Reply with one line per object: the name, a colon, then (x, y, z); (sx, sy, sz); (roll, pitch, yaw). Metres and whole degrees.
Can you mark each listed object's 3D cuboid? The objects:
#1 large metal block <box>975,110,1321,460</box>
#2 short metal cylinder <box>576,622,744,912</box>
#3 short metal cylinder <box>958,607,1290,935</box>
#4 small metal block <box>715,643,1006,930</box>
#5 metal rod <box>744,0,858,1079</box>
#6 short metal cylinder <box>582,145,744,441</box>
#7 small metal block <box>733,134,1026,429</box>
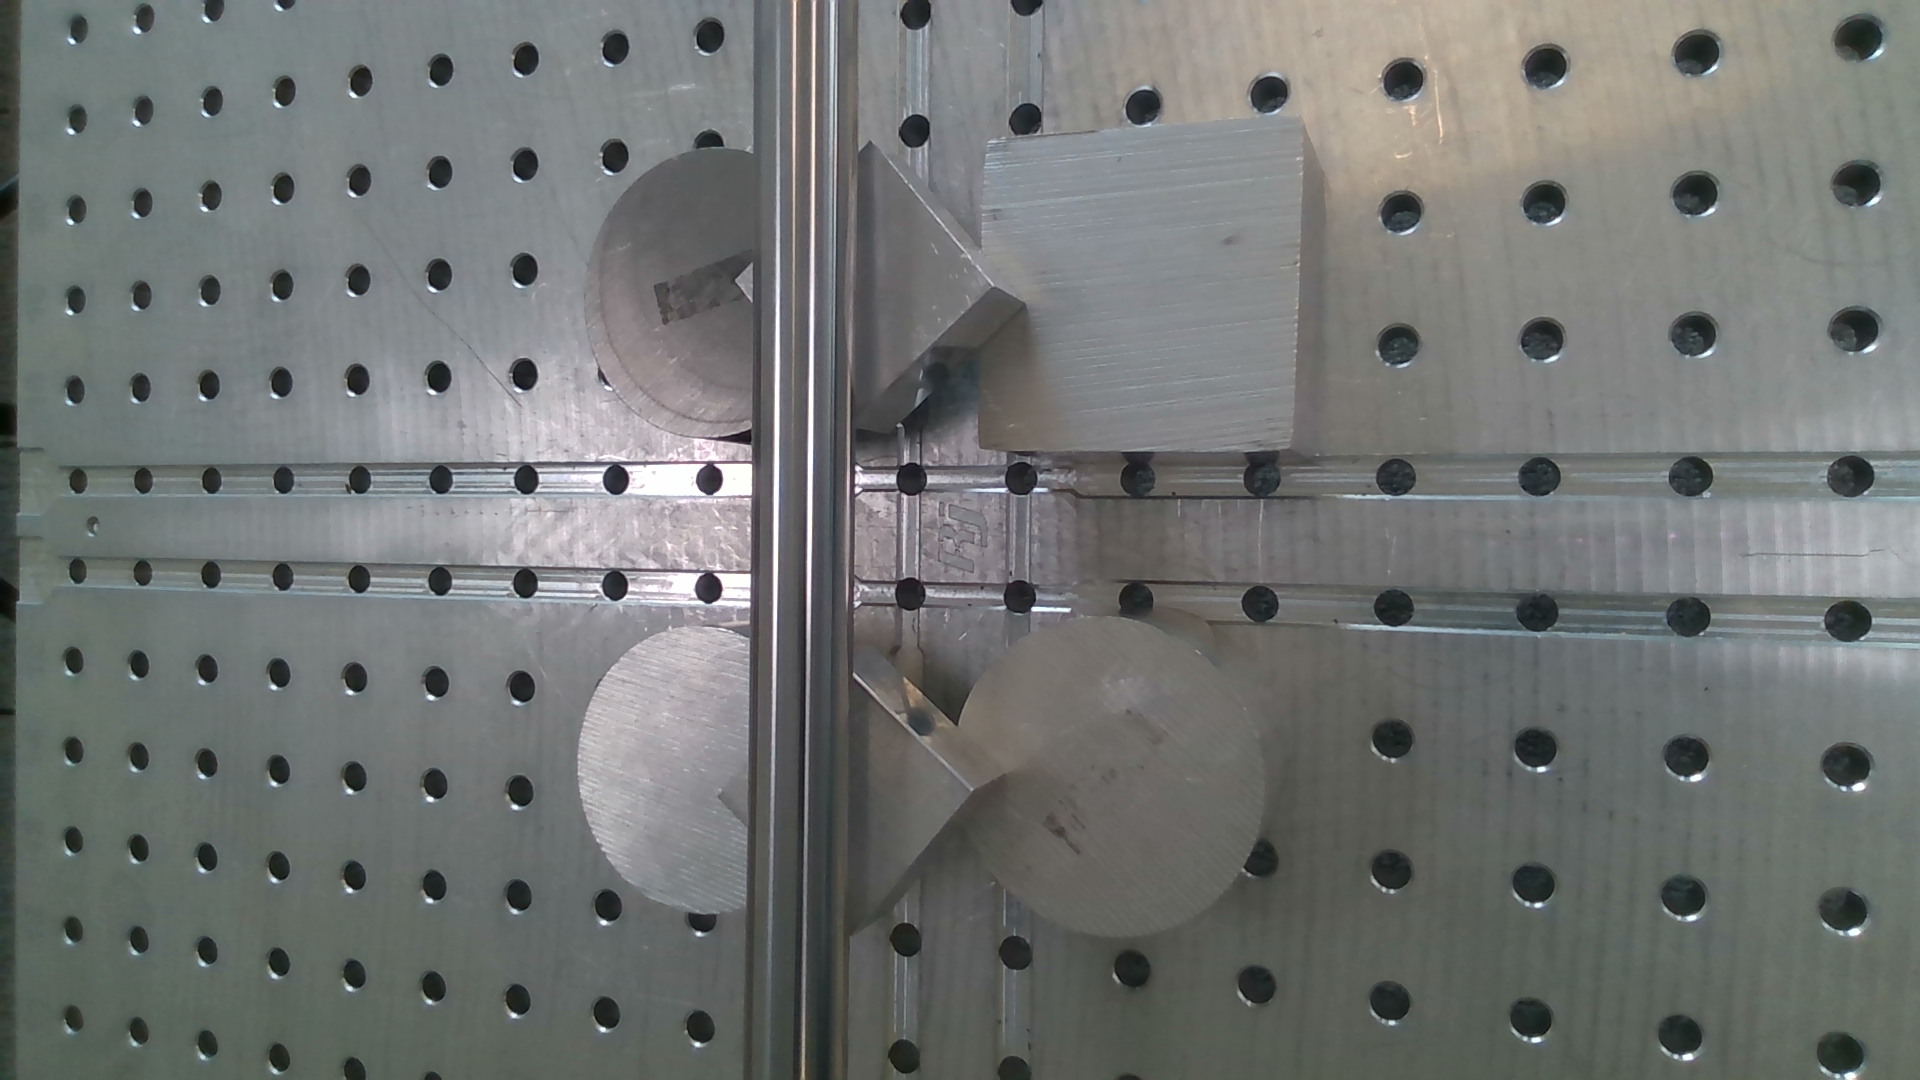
large metal block: (0.051, -0.062, 0.363); (0.080, 0.050, 0.080); (1, 91, 20)
short metal cylinder: (-0.065, 0.064, 0.408); (0.080, 0.050, 0.080); (0, 90, 20)
short metal cylinder: (0.044, 0.059, 0.367); (0.080, 0.050, 0.080); (0, 90, 20)
small metal block: (-0.026, 0.062, 0.353); (0.050, 0.025, 0.050); (42, 104, 15)
metal rod: (-0.038, -0.013, 0.330); (0.025, 0.025, 0.300); (1, 91, 20)
short metal cylinder: (-0.062, -0.069, 0.405); (0.080, 0.050, 0.080); (0, 90, 20)
small metal block: (-0.021, -0.064, 0.351); (0.050, 0.025, 0.050); (-42, 77, 16)
